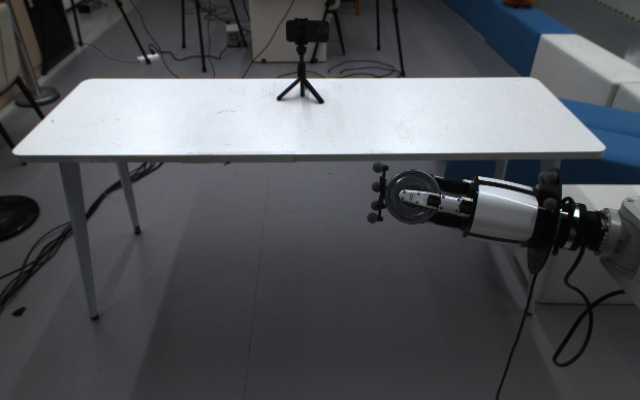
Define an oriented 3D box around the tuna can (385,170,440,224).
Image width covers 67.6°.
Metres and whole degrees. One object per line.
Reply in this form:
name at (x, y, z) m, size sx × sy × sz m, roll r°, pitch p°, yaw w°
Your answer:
tuna can at (0.146, -0.003, 0.744) m, size 0.085 × 0.085 × 0.034 m, roll 10°, pitch 2°, yaw 11°
